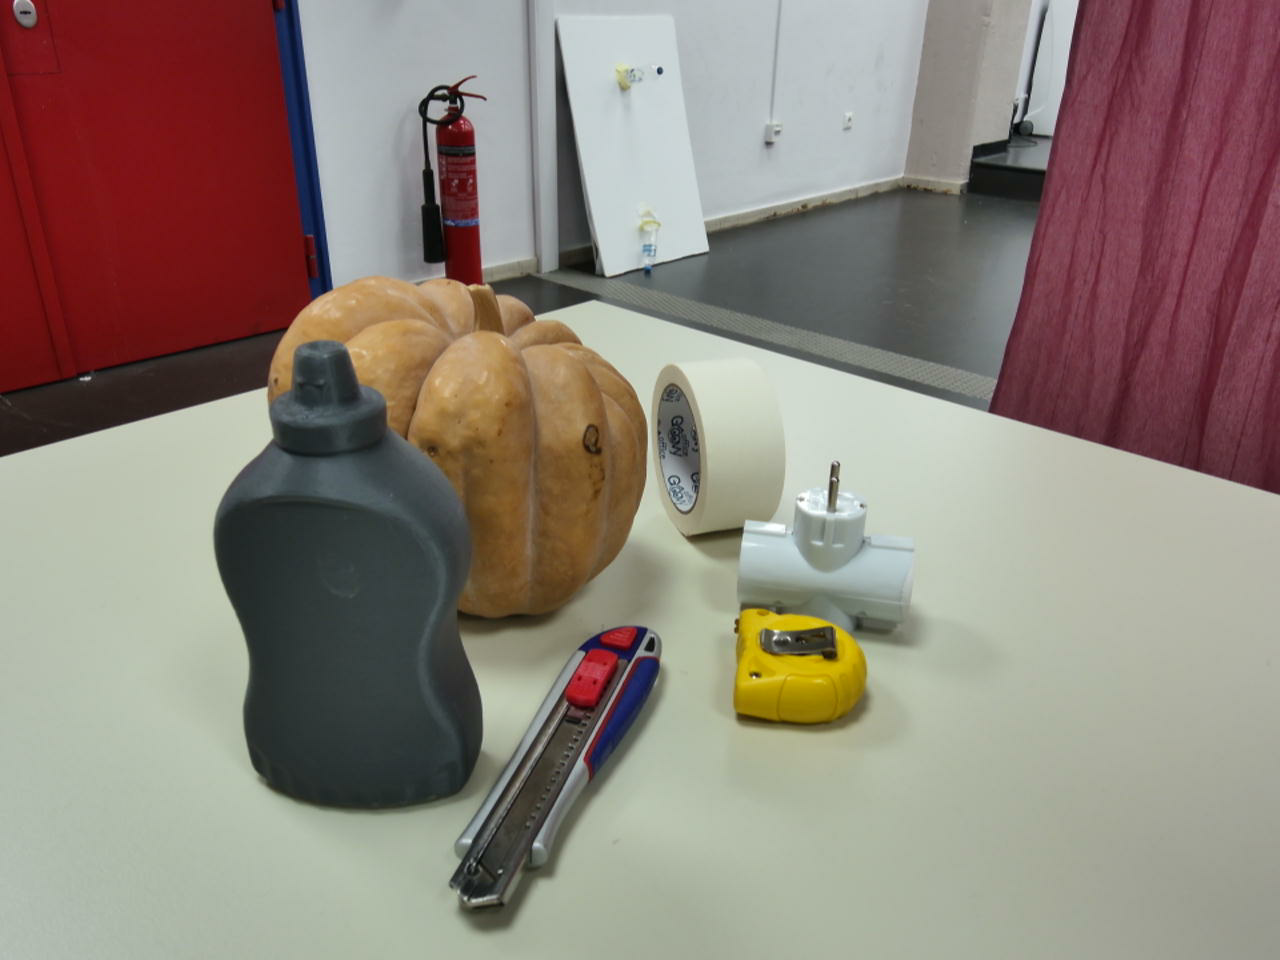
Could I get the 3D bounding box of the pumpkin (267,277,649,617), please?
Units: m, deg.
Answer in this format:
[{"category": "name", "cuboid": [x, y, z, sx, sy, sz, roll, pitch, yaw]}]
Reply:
[{"category": "pumpkin", "cuboid": [-0.093, -0.019, 0.533, 0.199, 0.177, 0.198, 1, 25, -1]}]
